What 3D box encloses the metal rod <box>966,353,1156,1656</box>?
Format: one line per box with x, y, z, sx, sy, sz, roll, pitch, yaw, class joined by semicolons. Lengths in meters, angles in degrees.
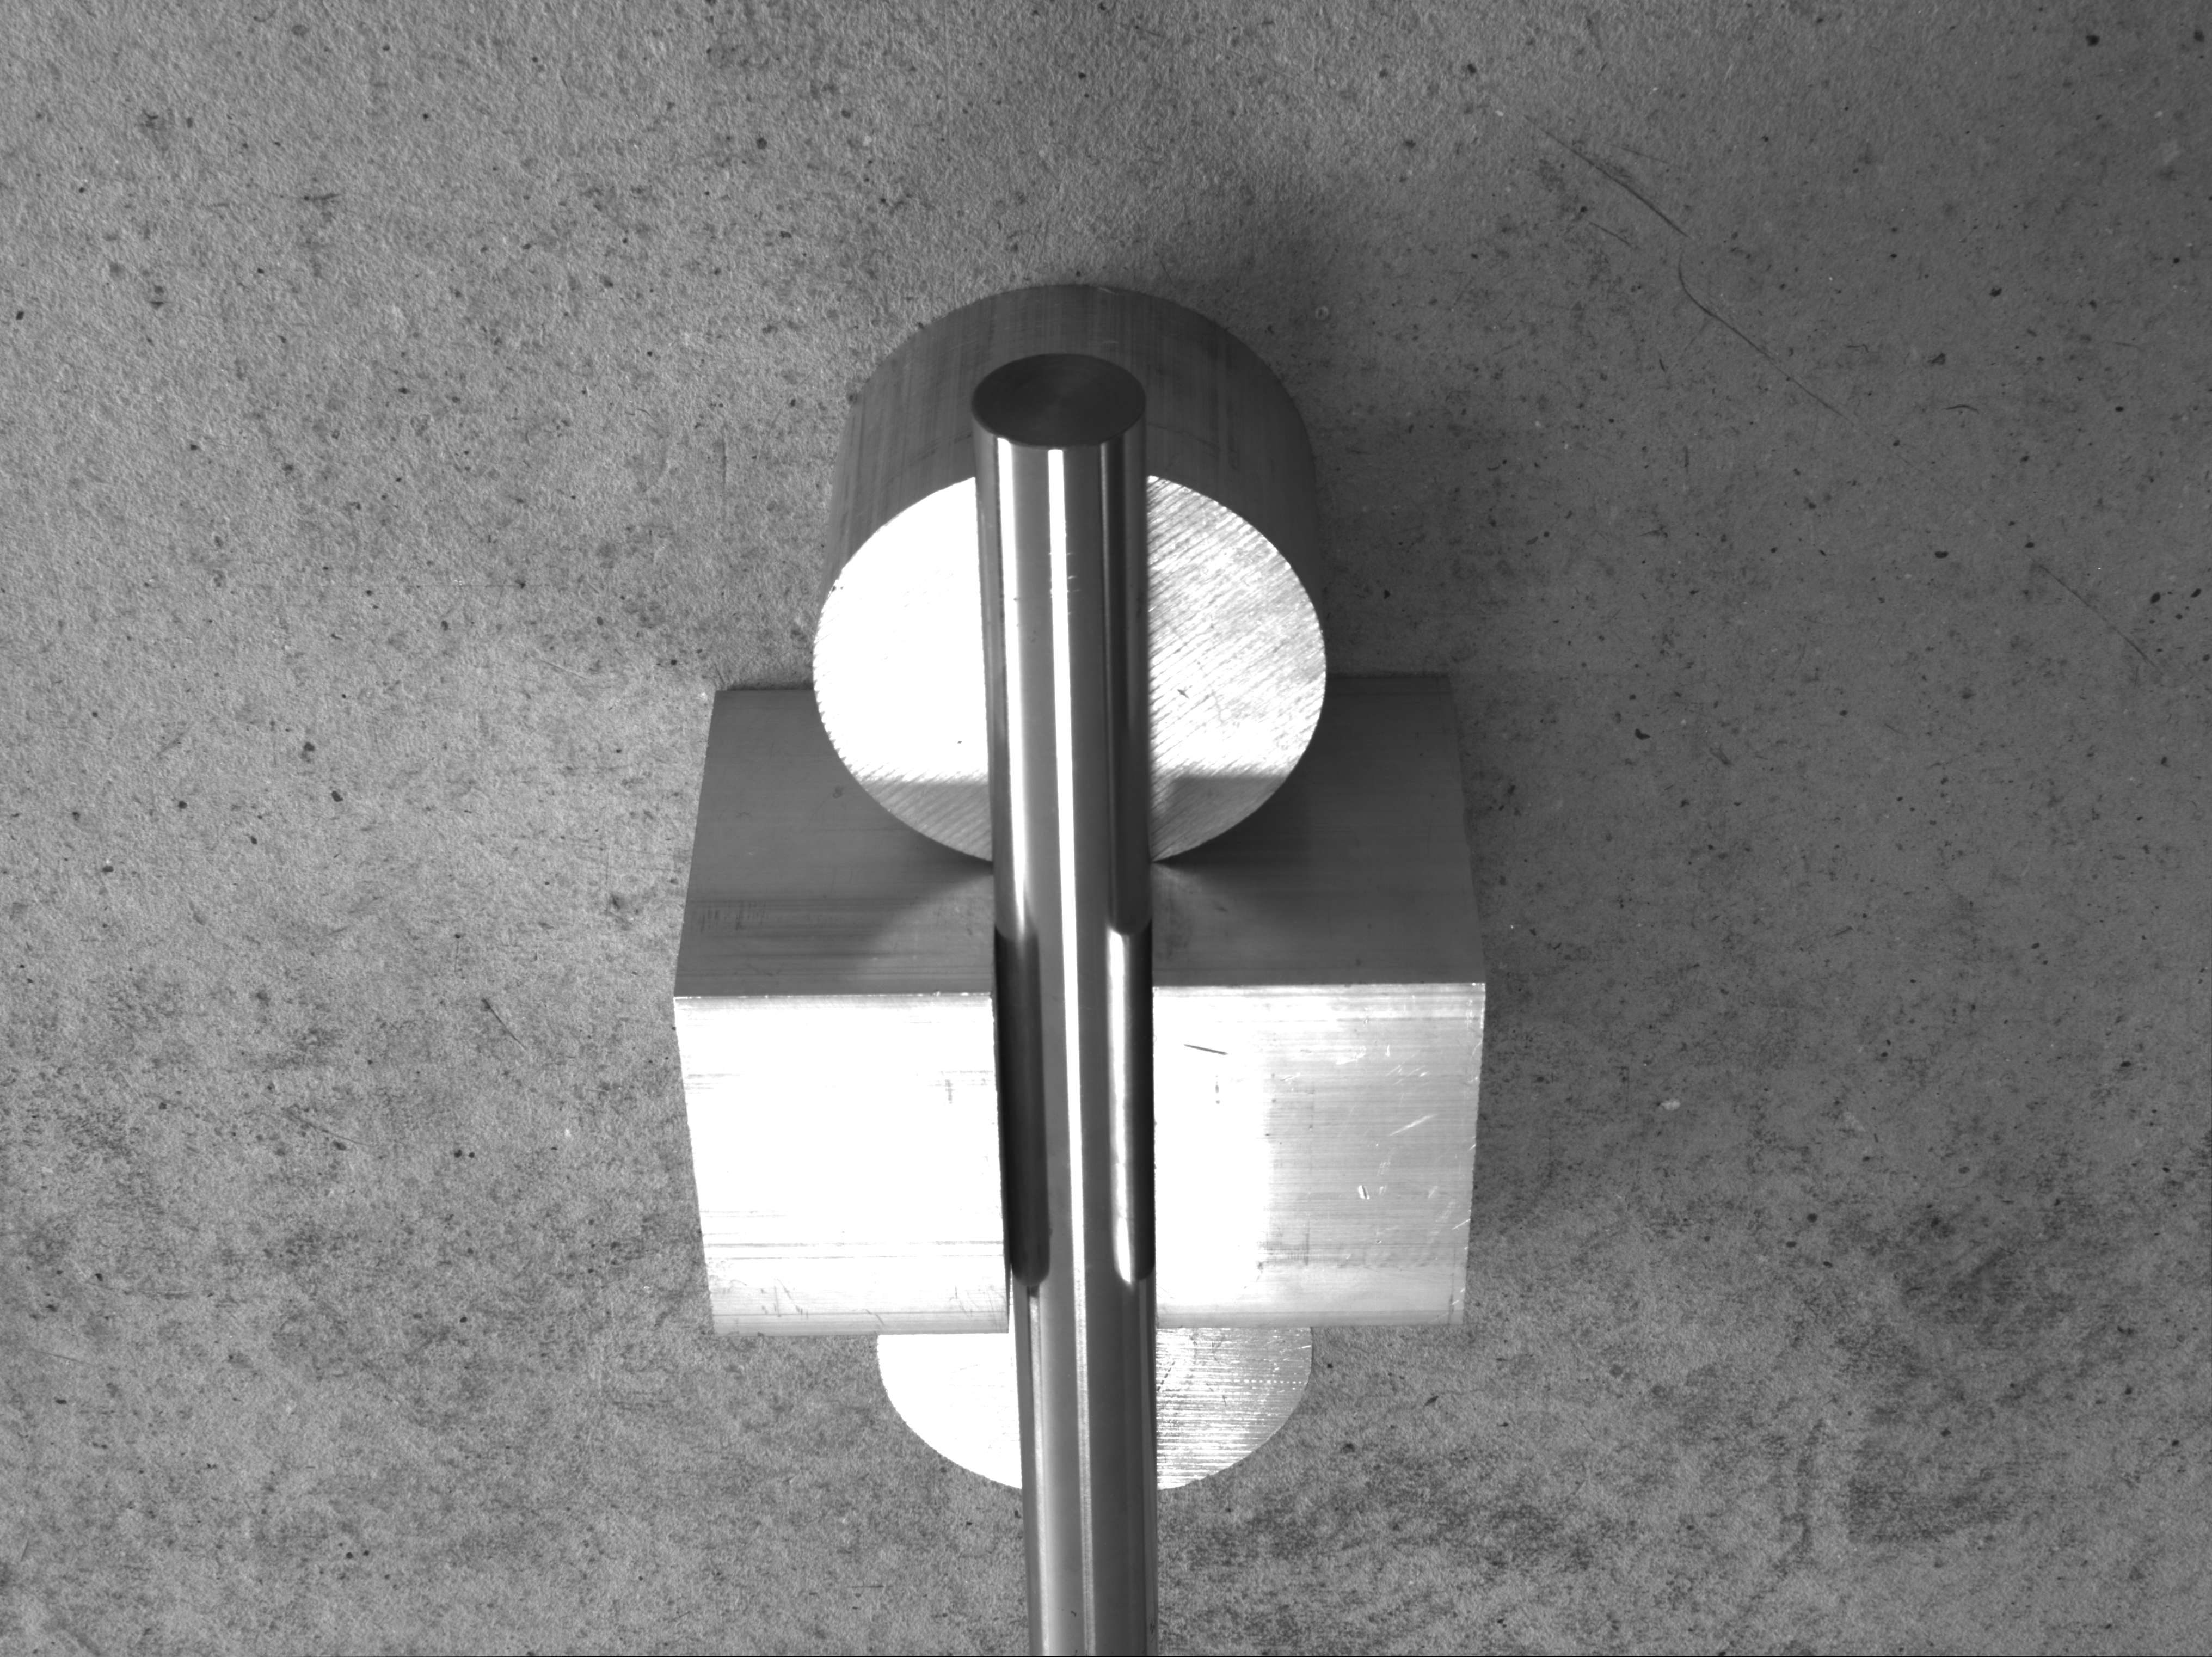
-0.005;0.054;0.620;0.025;0.025;0.300;-1;130;1;metal rod

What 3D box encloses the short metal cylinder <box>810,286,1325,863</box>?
-0.006;-0.039;0.590;0.080;0.050;0.080;0;129;0;short metal cylinder

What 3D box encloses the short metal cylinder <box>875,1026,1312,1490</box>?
-0.002;0.080;0.692;0.080;0.050;0.080;0;129;0;short metal cylinder

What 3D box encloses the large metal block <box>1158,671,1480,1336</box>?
0.034;0.030;0.629;0.050;0.080;0.080;-1;130;1;large metal block

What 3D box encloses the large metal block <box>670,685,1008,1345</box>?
-0.042;0.031;0.630;0.050;0.080;0.080;-1;130;1;large metal block
